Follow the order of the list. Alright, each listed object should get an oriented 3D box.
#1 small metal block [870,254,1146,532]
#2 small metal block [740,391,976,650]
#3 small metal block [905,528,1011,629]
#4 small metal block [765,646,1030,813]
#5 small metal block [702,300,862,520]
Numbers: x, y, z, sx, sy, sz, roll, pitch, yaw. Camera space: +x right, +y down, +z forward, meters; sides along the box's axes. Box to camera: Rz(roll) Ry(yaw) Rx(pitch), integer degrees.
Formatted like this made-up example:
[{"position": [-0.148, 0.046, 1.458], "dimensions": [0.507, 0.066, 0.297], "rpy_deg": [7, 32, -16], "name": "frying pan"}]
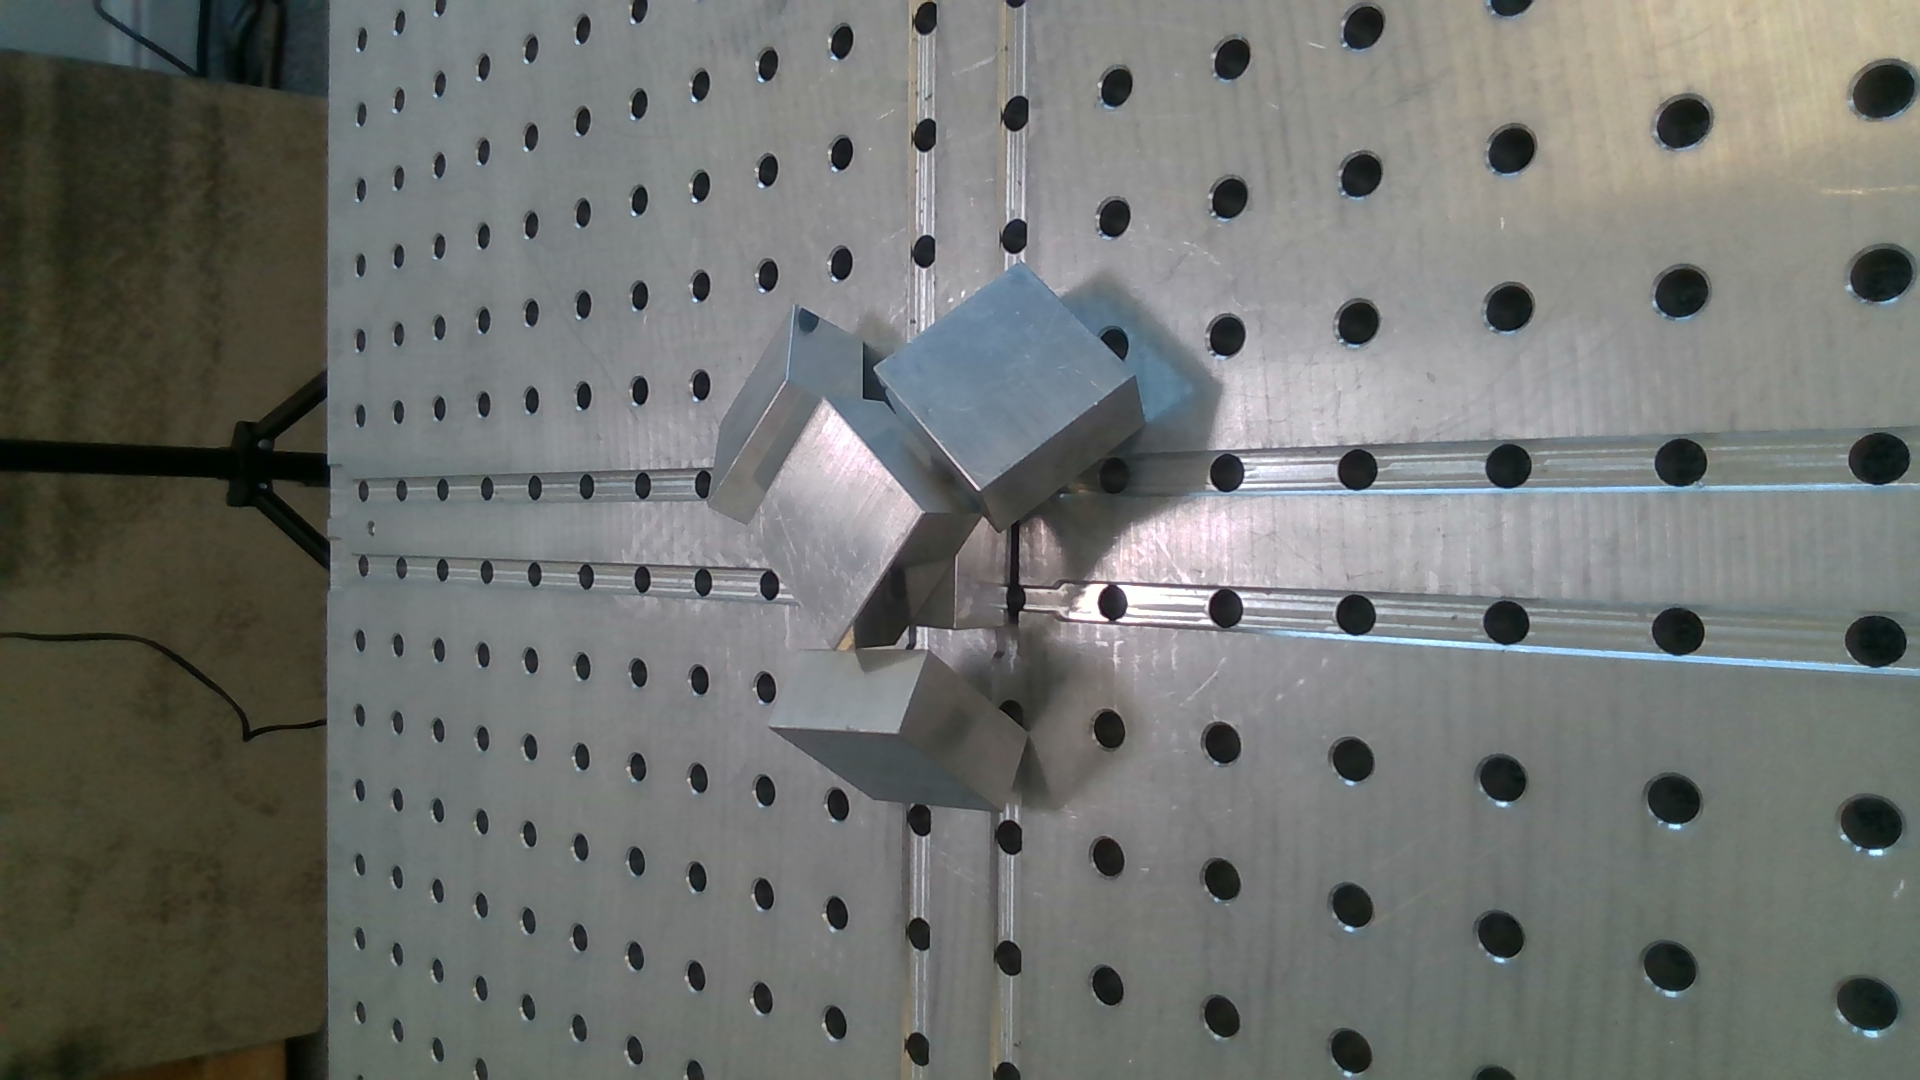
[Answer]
[{"position": [0.013, -0.039, 0.366], "dimensions": [0.050, 0.025, 0.050], "rpy_deg": [-37, 62, -5], "name": "small metal block"}, {"position": [-0.028, -0.005, 0.384], "dimensions": [0.050, 0.025, 0.050], "rpy_deg": [48, 120, 28], "name": "small metal block"}, {"position": [-0.012, -0.001, 0.404], "dimensions": [0.050, 0.025, 0.050], "rpy_deg": [2, 92, 43], "name": "small metal block"}, {"position": [-0.017, 0.053, 0.389], "dimensions": [0.050, 0.050, 0.025], "rpy_deg": [-4, 55, 40], "name": "small metal block"}, {"position": [-0.054, -0.037, 0.422], "dimensions": [0.050, 0.025, 0.050], "rpy_deg": [-53, 22, 27], "name": "small metal block"}]
